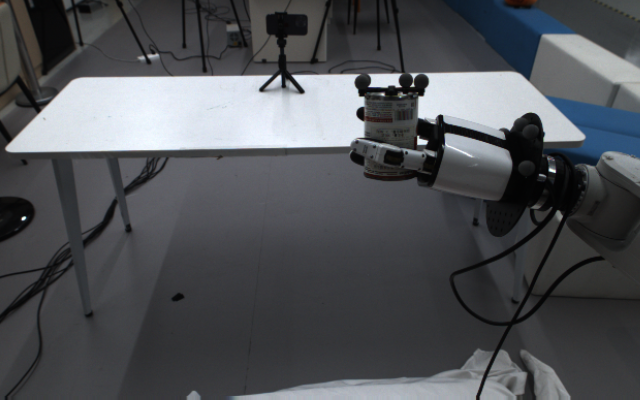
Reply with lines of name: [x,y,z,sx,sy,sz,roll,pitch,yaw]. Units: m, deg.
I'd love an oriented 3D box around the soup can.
soup can: [0.089,-0.080,0.603,0.067,0.101,0.067,-2,17,0]
